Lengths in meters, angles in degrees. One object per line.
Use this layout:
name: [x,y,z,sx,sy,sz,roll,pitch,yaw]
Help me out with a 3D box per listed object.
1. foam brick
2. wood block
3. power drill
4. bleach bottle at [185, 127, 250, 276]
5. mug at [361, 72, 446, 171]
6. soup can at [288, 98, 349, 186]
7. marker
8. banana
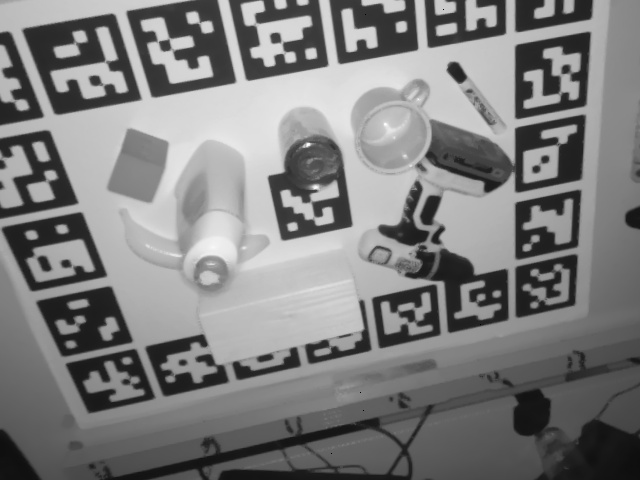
foam brick: [-0.207,-0.102,0.812,0.053,0.078,0.051,19,117,-20]
wood block: [-0.048,0.081,0.931,0.207,0.091,0.089,-12,119,-3]
power drill: [0.169,-0.043,0.922,0.186,0.057,0.185,16,116,-14]
bleach bottle: [-0.112,-0.034,0.763,0.068,0.252,0.101,15,117,-17]
mug: [0.102,-0.149,0.831,0.094,0.082,0.116,30,107,-20]
soup can: [-0.002,-0.117,0.814,0.068,0.102,0.067,-4,124,-5]
marker: [0.211,-0.190,0.866,0.019,0.020,0.121,-39,117,10]
banana: [-0.143,0.010,0.901,0.198,0.039,0.074,4,104,-9]
